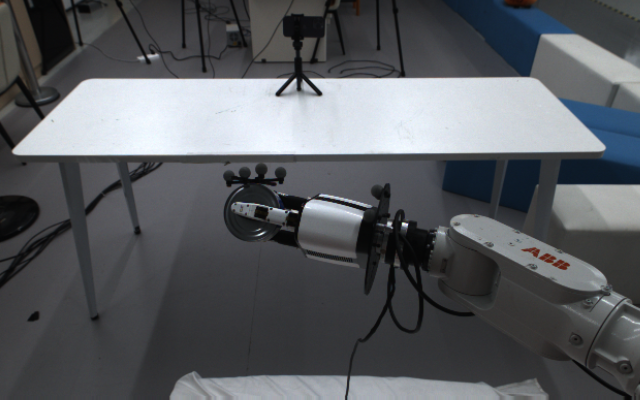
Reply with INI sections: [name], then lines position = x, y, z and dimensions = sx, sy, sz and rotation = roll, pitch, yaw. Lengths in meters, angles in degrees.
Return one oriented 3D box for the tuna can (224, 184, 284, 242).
[tuna can]
position = -0.090, 0.020, 0.714
dimensions = 0.085, 0.085, 0.034
rotation = 10, -6, 11
